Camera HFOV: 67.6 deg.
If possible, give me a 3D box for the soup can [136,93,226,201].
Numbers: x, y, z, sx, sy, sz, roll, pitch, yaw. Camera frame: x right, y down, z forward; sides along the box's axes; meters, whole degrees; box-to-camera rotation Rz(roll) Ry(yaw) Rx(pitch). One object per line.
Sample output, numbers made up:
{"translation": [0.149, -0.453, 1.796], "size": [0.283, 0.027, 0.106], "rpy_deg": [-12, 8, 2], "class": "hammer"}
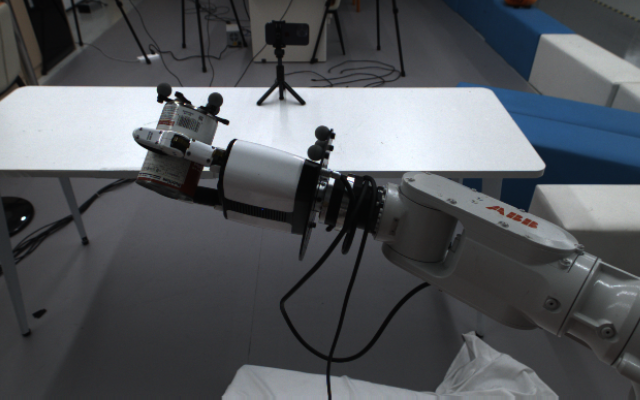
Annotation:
{"translation": [-0.168, -0.056, 0.576], "size": [0.067, 0.067, 0.101], "rpy_deg": [13, 78, 15], "class": "soup can"}
